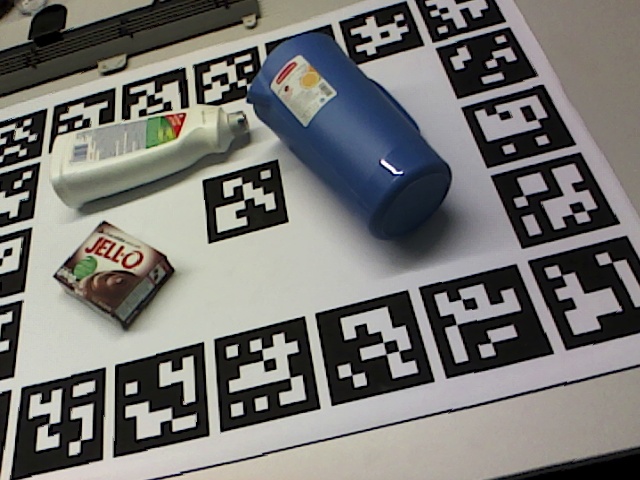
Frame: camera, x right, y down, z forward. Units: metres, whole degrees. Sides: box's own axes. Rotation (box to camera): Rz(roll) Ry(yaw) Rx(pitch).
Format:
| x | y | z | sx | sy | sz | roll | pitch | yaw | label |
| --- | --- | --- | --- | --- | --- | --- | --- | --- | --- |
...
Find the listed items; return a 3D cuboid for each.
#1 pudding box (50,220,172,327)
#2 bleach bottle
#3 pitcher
| x | y | z | sx | sy | sz | roll | pitch | yaw | label |
| --- | --- | --- | --- | --- | --- | --- | --- | --- | --- |
| -0.247 | 0.038 | 0.734 | 0.114 | 0.038 | 0.090 | 29 | 64 | 27 | pudding box |
| -0.216 | -0.123 | 0.818 | 0.251 | 0.067 | 0.103 | -16 | 60 | 3 | bleach bottle |
| 0.047 | -0.105 | 0.717 | 0.188 | 0.133 | 0.244 | -14 | 54 | -37 | pitcher |
